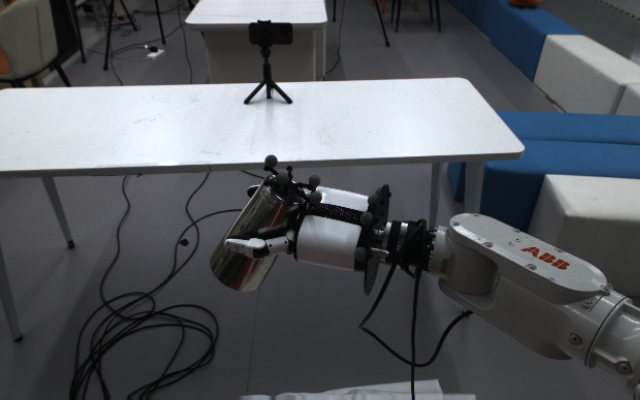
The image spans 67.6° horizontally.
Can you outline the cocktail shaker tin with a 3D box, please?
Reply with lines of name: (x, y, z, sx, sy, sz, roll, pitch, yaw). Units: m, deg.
cocktail shaker tin: (-0.087, 0.042, 0.717, 0.093, 0.170, 0.093, 26, 32, -17)
